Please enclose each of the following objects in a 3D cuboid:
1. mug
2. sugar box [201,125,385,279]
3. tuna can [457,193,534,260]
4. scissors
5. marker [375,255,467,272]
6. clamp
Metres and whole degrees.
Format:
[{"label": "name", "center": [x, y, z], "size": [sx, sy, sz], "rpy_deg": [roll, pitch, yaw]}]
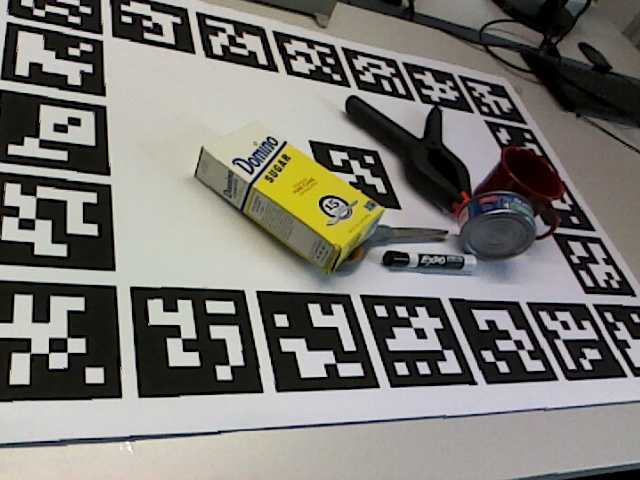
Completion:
[{"label": "mug", "center": [0.246, -0.050, 0.800], "size": [0.093, 0.081, 0.117], "rpy_deg": [-24, 63, -42]}, {"label": "sugar box", "center": [-0.028, -0.046, 0.649], "size": [0.177, 0.045, 0.092], "rpy_deg": [38, 43, 14]}, {"label": "tuna can", "center": [0.209, -0.014, 0.739], "size": [0.085, 0.086, 0.034], "rpy_deg": [18, 45, -16]}, {"label": "scissors", "center": [0.065, -0.011, 0.696], "size": [0.201, 0.016, 0.088], "rpy_deg": [-5, 51, -35]}, {"label": "marker", "center": [0.114, 0.026, 0.695], "size": [0.120, 0.020, 0.020], "rpy_deg": [1, 53, -29]}, {"label": "clamp", "center": [0.133, -0.110, 0.830], "size": [0.164, 0.037, 0.204], "rpy_deg": [-5, 56, -34]}]
